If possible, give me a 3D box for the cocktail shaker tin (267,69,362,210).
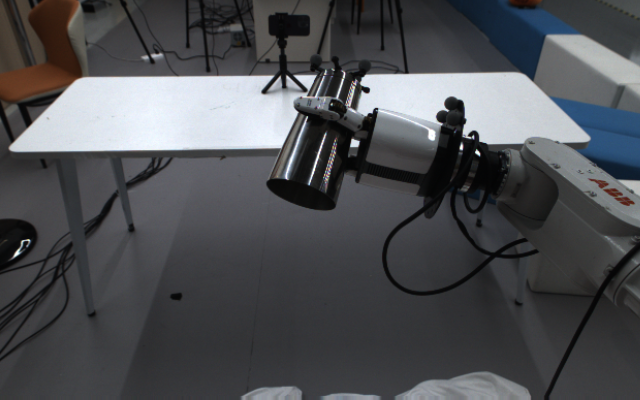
[{"bbox_3d":[-0.001,-0.083,0.631,0.093,0.093,0.170,13,70,15],"label":"cocktail shaker tin"}]
